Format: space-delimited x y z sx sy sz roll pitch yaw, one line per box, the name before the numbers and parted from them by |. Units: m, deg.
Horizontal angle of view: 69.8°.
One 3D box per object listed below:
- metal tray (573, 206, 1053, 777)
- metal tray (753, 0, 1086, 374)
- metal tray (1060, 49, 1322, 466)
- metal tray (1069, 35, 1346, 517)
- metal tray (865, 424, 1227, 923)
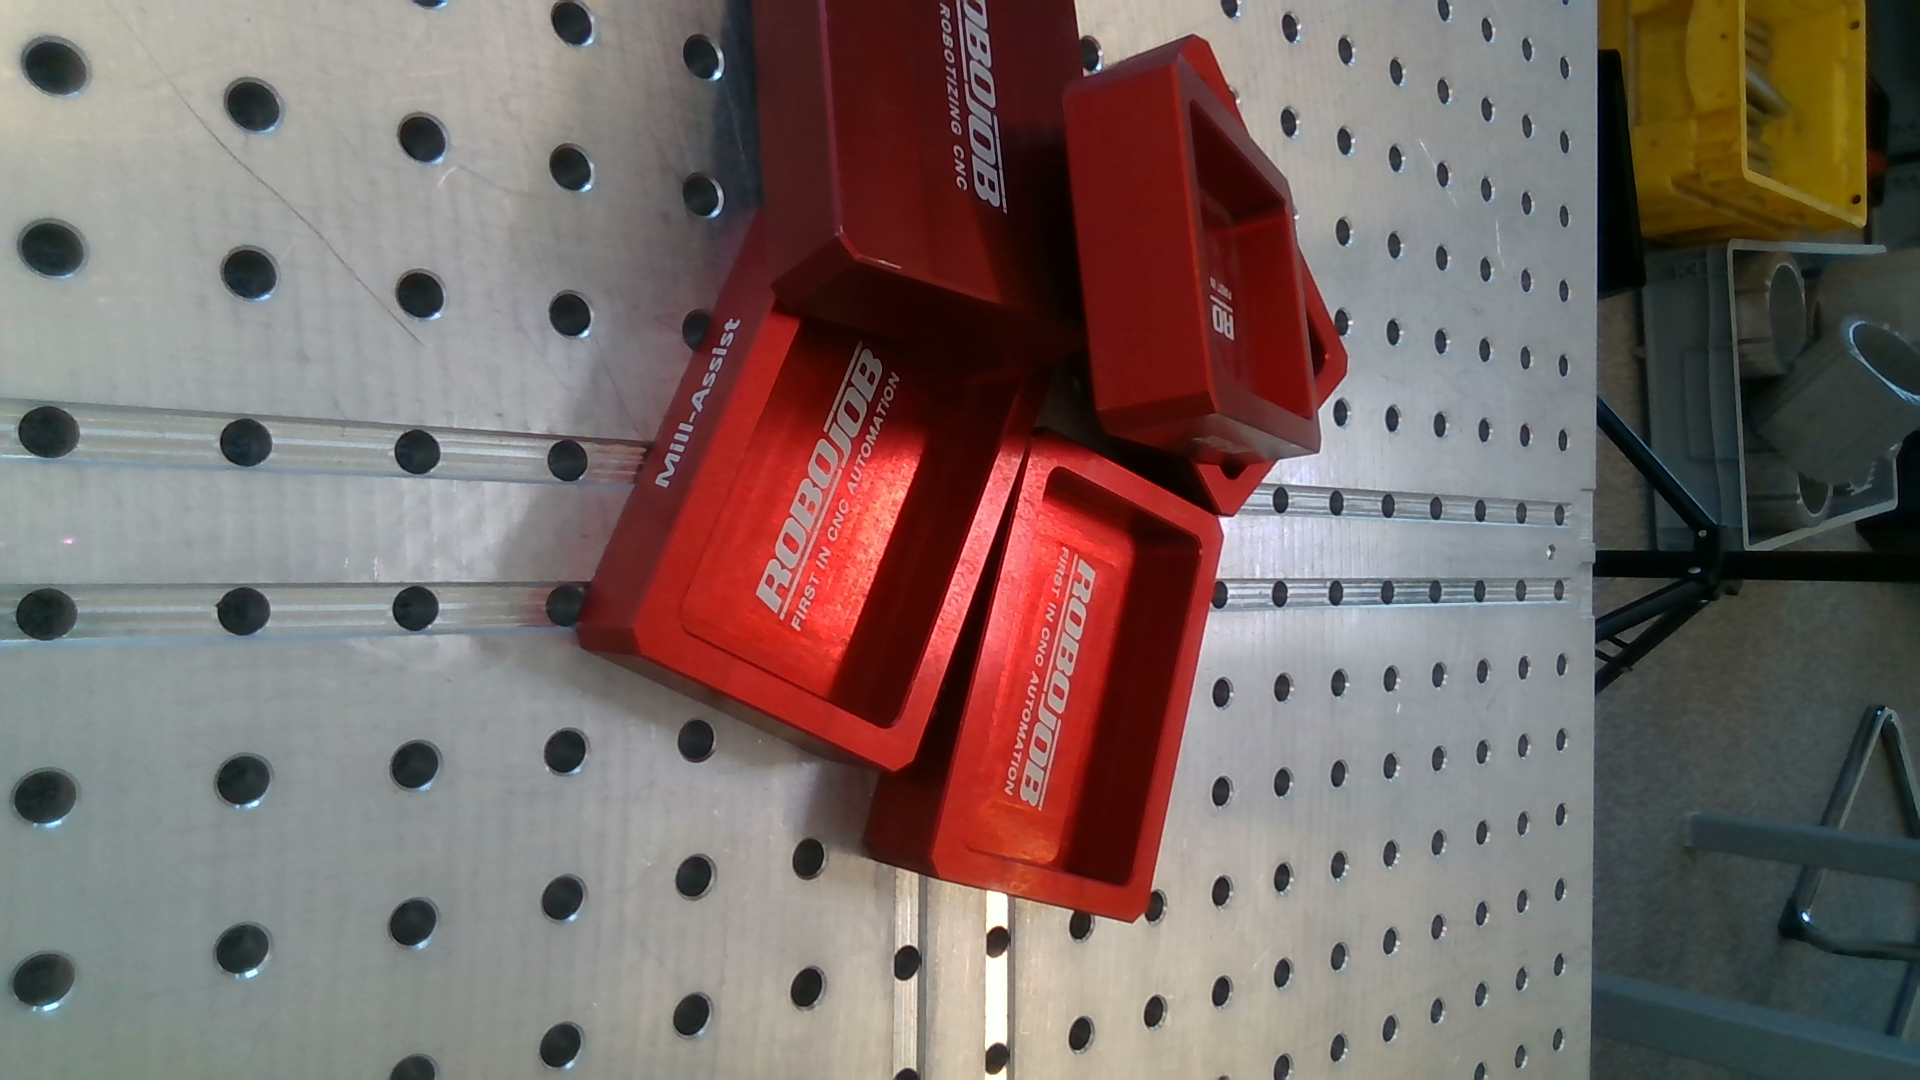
metal tray | -0.033 -0.014 0.362 0.090 0.030 0.130 32 70 -35
metal tray | -0.008 -0.117 0.362 0.090 0.030 0.130 9 70 -39
metal tray | 0.071 -0.072 0.394 0.130 0.030 0.090 3 80 -64
metal tray | 0.072 -0.083 0.450 0.090 0.030 0.130 -48 119 -30
metal tray | 0.030 0.041 0.414 0.090 0.030 0.130 23 76 -37
